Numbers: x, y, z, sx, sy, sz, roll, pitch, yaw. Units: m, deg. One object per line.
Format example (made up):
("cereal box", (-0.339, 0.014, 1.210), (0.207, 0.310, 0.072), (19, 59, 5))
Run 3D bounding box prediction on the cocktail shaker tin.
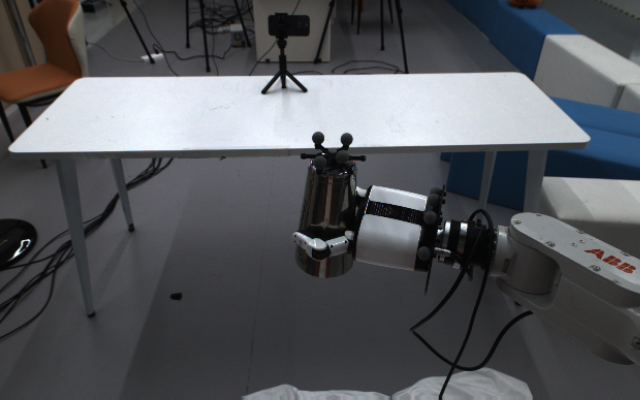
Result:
("cocktail shaker tin", (0.014, 0.019, 0.705), (0.093, 0.170, 0.093), (3, 34, -2))
